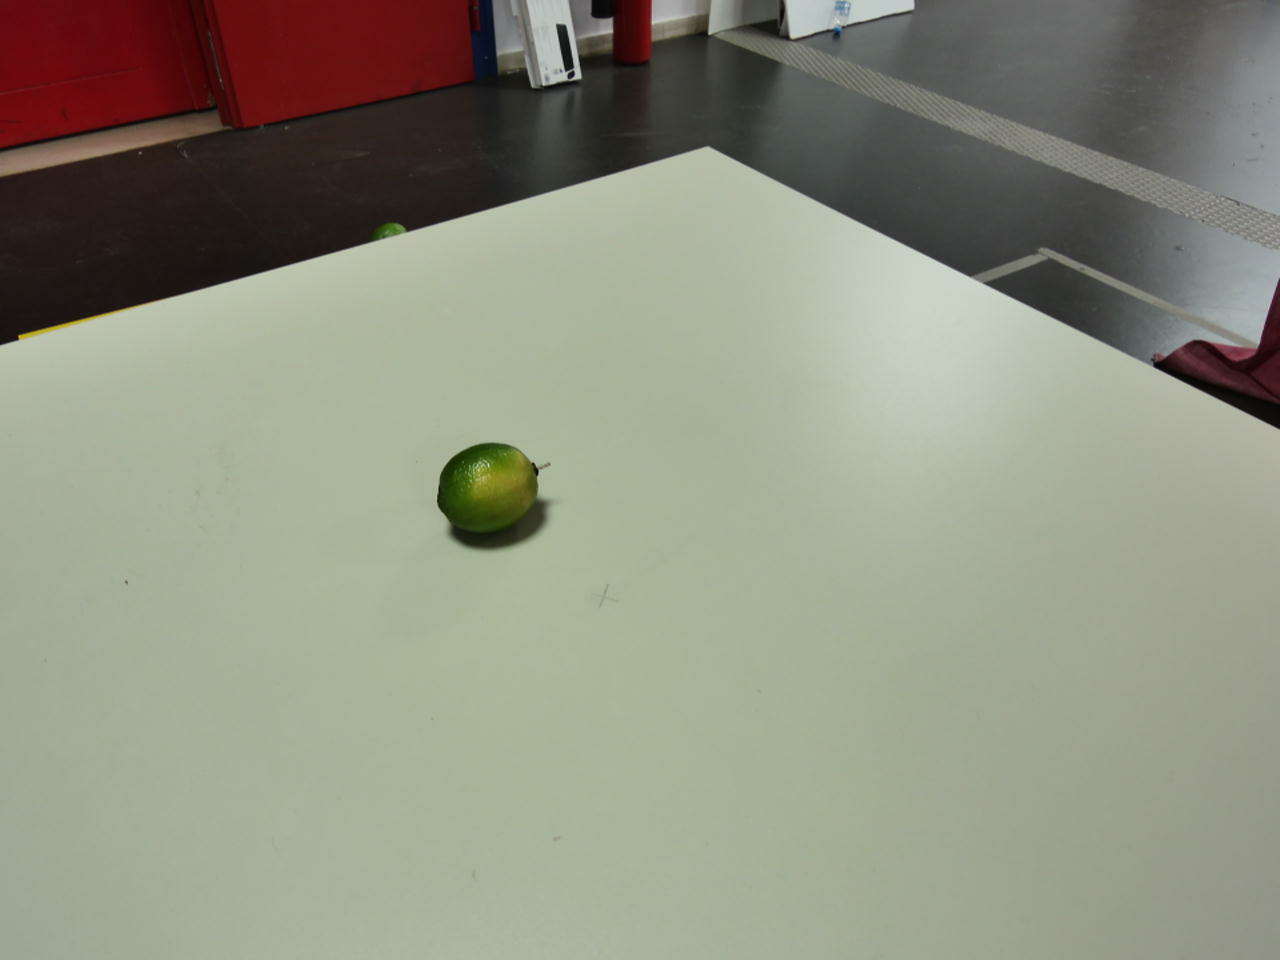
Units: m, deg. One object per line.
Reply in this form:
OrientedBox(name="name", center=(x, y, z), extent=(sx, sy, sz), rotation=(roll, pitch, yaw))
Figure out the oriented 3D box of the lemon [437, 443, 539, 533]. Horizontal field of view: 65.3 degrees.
OrientedBox(name="lemon", center=(-0.087, 0.004, 0.574), extent=(0.055, 0.050, 0.054), rotation=(10, 39, 10))
